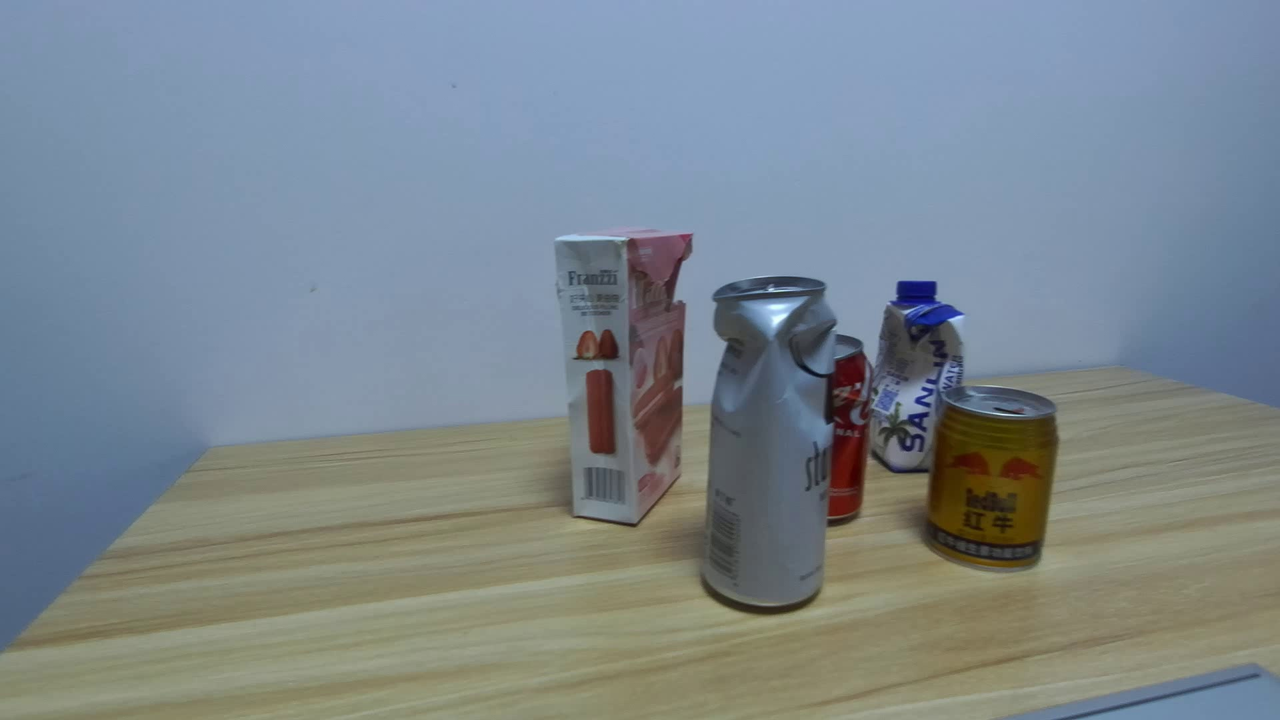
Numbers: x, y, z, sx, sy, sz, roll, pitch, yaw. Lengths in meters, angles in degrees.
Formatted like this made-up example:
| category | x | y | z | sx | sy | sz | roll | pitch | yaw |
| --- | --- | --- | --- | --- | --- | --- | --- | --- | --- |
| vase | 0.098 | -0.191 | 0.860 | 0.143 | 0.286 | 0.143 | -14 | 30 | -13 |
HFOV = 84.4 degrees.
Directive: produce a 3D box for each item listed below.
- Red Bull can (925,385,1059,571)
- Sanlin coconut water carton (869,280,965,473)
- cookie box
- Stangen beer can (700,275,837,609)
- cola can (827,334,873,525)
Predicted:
| category | x | y | z | sx | sy | sz | roll | pitch | yaw |
| --- | --- | --- | --- | --- | --- | --- | --- | --- | --- |
| Red Bull can | 0.206 | 0.068 | 0.417 | 0.067 | 0.093 | 0.067 | 1 | 12 | 0 |
| Sanlin coconut water carton | 0.207 | 0.014 | 0.532 | 0.057 | 0.145 | 0.068 | -8 | 22 | 0 |
| cookie box | -0.009 | 0.007 | 0.478 | 0.059 | 0.186 | 0.105 | 7 | 15 | 24 |
| Stangen beer can | 0.065 | 0.043 | 0.367 | 0.066 | 0.166 | 0.065 | -15 | 20 | -41 |
| cola can | 0.120 | 0.043 | 0.469 | 0.072 | 0.117 | 0.066 | 10 | 19 | 36 |
